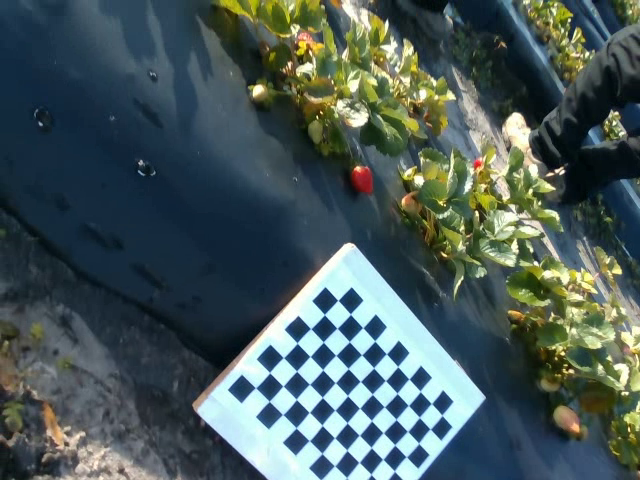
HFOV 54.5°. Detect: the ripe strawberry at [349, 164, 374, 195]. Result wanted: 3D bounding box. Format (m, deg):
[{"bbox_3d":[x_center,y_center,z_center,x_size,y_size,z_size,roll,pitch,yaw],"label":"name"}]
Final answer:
[{"bbox_3d":[0.055,-0.070,0.757,0.030,0.045,0.033,-15,-22,-14],"label":"ripe strawberry"}]
